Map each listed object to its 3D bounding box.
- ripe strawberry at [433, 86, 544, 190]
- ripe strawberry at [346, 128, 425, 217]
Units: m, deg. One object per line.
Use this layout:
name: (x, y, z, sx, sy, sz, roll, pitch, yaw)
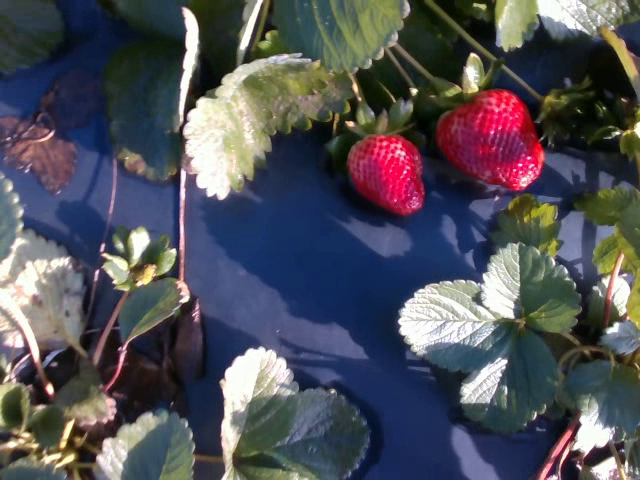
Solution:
ripe strawberry: (0.087, -0.046, 0.279, 0.052, 0.058, 0.046, -36, -26, 18)
ripe strawberry: (0.034, -0.029, 0.277, 0.043, 0.051, 0.036, -45, -26, 22)
